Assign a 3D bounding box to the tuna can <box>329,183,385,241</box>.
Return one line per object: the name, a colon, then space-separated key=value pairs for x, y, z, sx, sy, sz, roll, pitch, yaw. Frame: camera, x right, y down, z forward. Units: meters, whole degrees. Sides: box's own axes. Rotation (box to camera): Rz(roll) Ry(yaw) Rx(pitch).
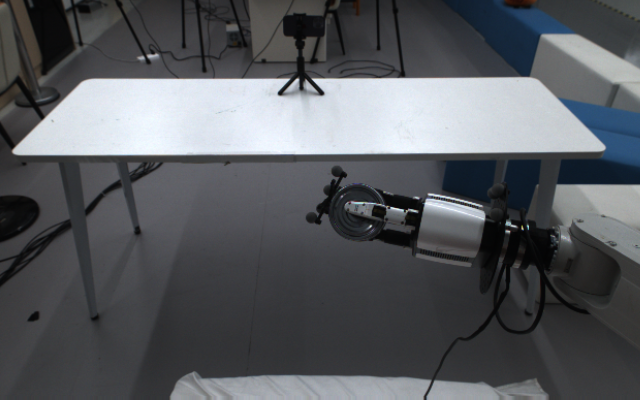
tuna can: x=0.058 y=0.017 z=0.716 sx=0.085 sy=0.085 sz=0.034 roll=9 pitch=-5 yaw=10
